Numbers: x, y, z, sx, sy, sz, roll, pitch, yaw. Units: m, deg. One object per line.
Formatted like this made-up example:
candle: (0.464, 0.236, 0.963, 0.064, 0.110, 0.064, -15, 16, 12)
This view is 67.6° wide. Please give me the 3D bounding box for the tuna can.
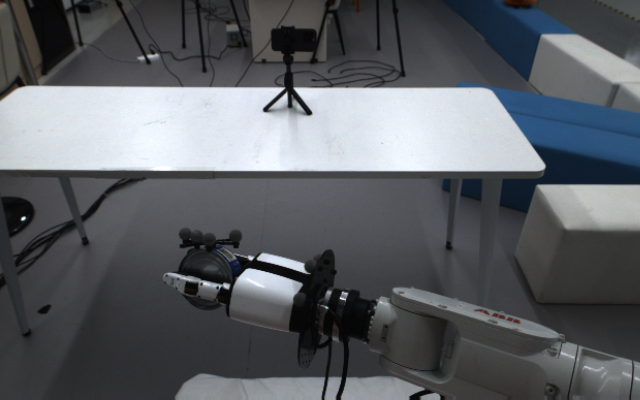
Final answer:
tuna can: (-0.149, 0.107, 0.669, 0.085, 0.085, 0.034, 15, 9, 18)
